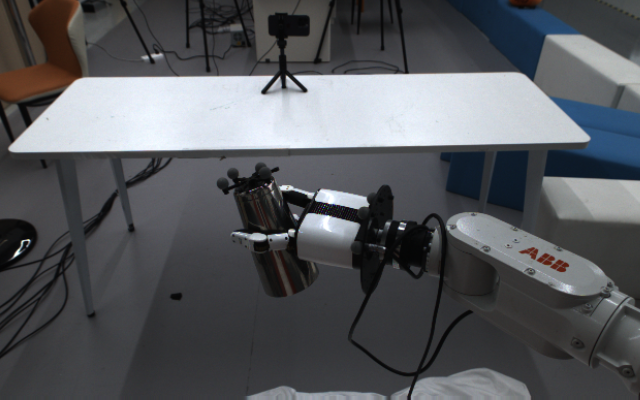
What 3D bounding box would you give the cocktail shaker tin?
[{"bbox_3d":[-0.071,0.052,0.740,0.093,0.170,0.093,-17,20,7],"label":"cocktail shaker tin"}]
